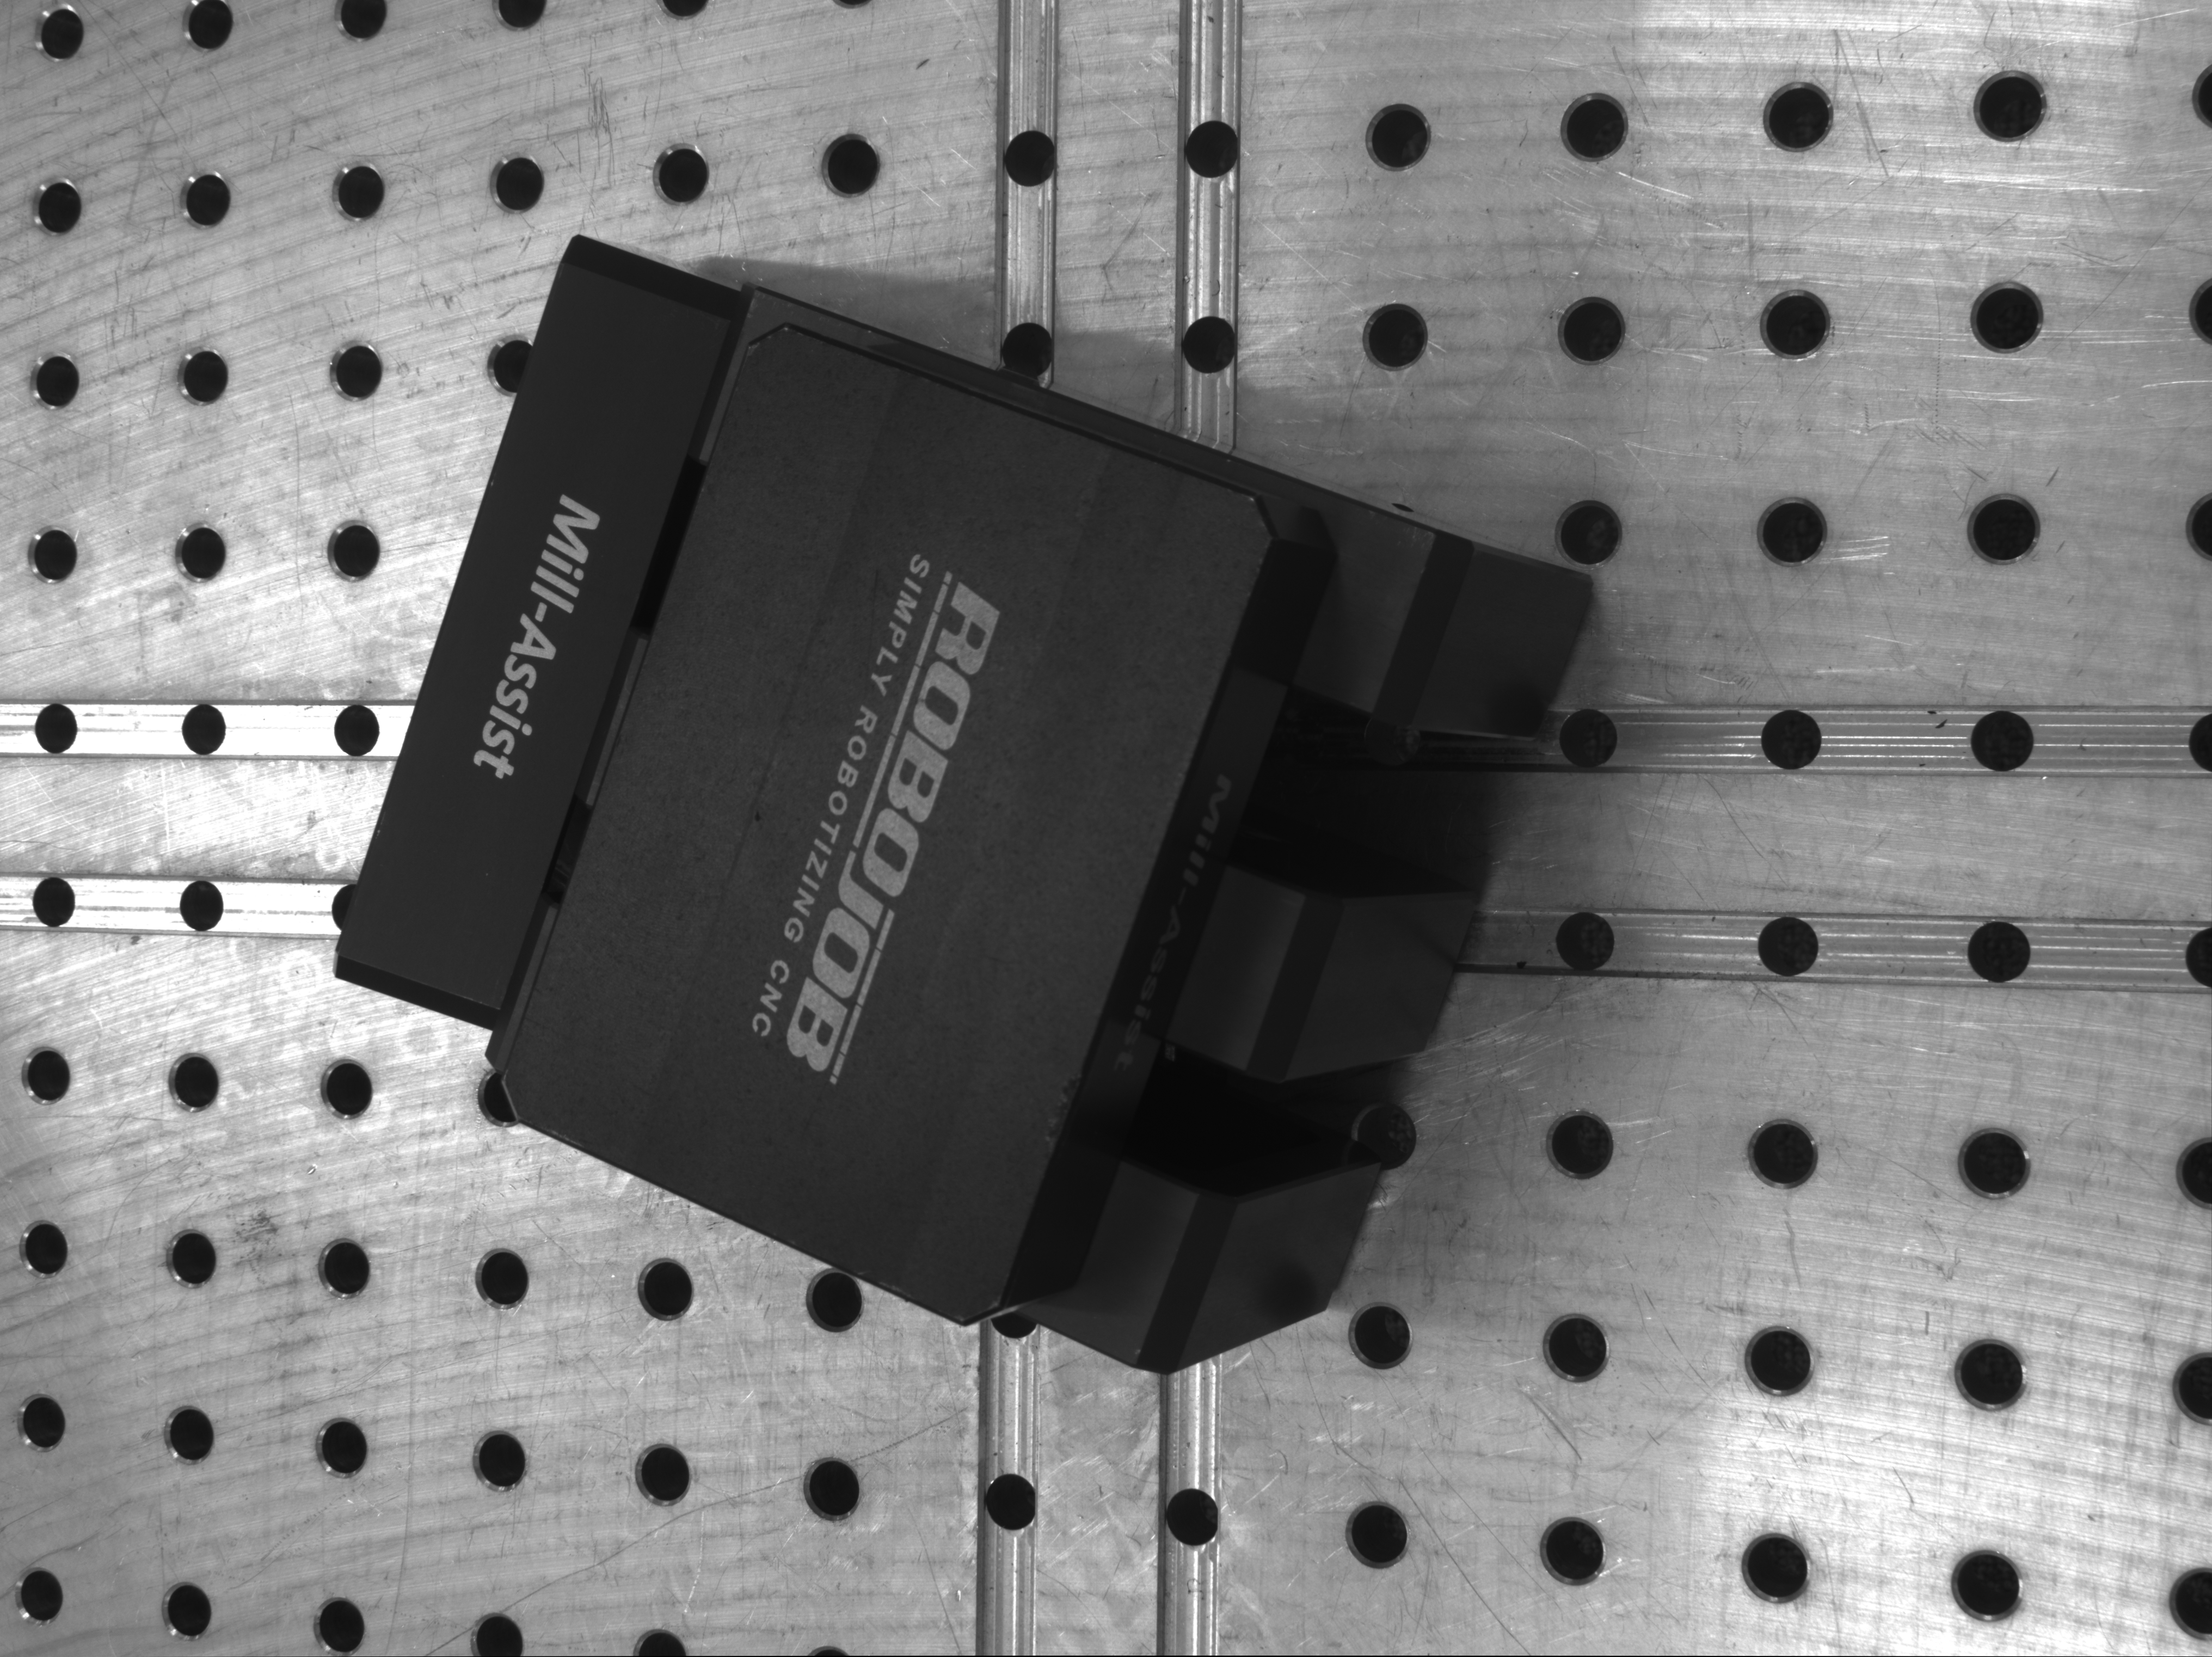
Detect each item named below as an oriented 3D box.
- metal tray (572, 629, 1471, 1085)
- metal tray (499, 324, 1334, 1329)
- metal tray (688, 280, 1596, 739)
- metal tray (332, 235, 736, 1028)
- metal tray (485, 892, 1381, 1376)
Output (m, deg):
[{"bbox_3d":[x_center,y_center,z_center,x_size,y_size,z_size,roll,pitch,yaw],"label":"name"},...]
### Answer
[{"bbox_3d":[-0.012,0.004,0.618,0.130,0.090,0.030,21,96,18],"label":"metal tray"},{"bbox_3d":[-0.030,-0.001,0.561,0.090,0.030,0.130,22,97,19],"label":"metal tray"},{"bbox_3d":[0.008,-0.052,0.611,0.130,0.090,0.030,22,98,19],"label":"metal tray"},{"bbox_3d":[-0.094,-0.036,0.646,0.030,0.090,0.130,19,97,-3],"label":"metal tray"},{"bbox_3d":[-0.028,0.048,0.624,0.130,0.090,0.030,22,98,18],"label":"metal tray"}]
